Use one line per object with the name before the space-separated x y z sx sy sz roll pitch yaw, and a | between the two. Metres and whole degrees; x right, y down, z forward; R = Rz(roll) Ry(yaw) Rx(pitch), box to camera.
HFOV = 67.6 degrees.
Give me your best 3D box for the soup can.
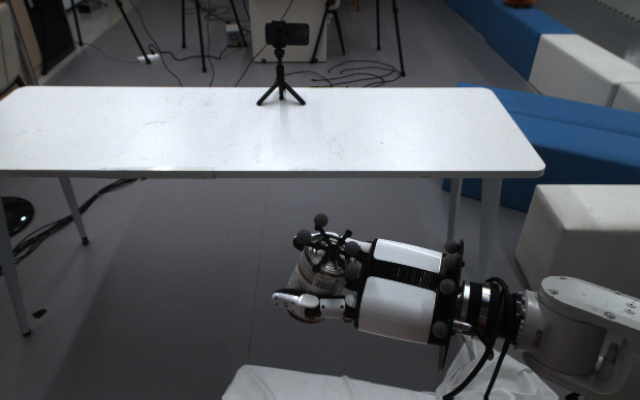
soup can | 0.000 0.100 0.613 0.067 0.101 0.067 14 39 -12
